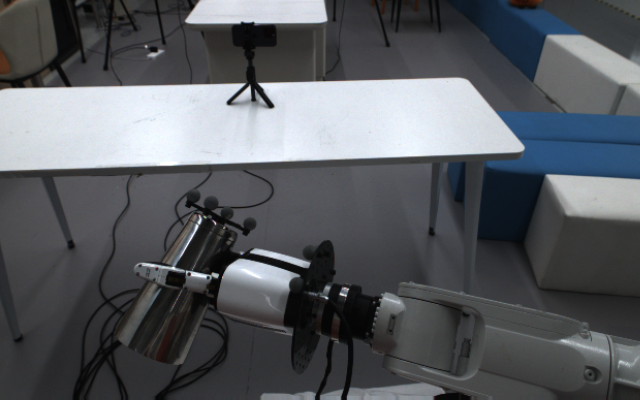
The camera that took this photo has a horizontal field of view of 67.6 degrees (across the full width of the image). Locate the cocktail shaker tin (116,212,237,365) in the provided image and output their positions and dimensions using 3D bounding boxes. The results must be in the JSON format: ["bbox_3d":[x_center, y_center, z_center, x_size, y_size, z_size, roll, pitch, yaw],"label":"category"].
[{"bbox_3d":[-0.169,0.103,0.605,0.093,0.093,0.170,21,81,26],"label":"cocktail shaker tin"}]
